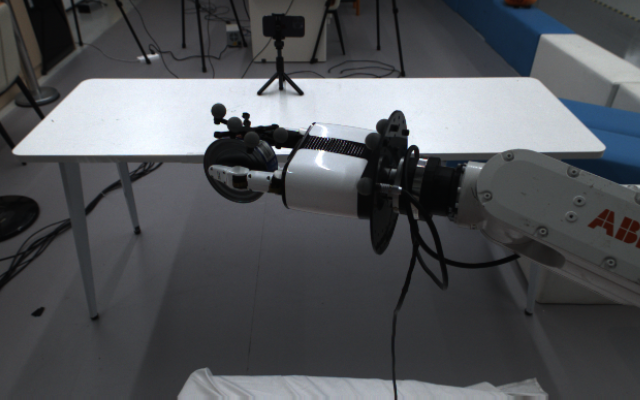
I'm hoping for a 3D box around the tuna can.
[{"bbox_3d":[-0.094,-0.041,0.588,0.085,0.085,0.034,12,30,15],"label":"tuna can"}]
